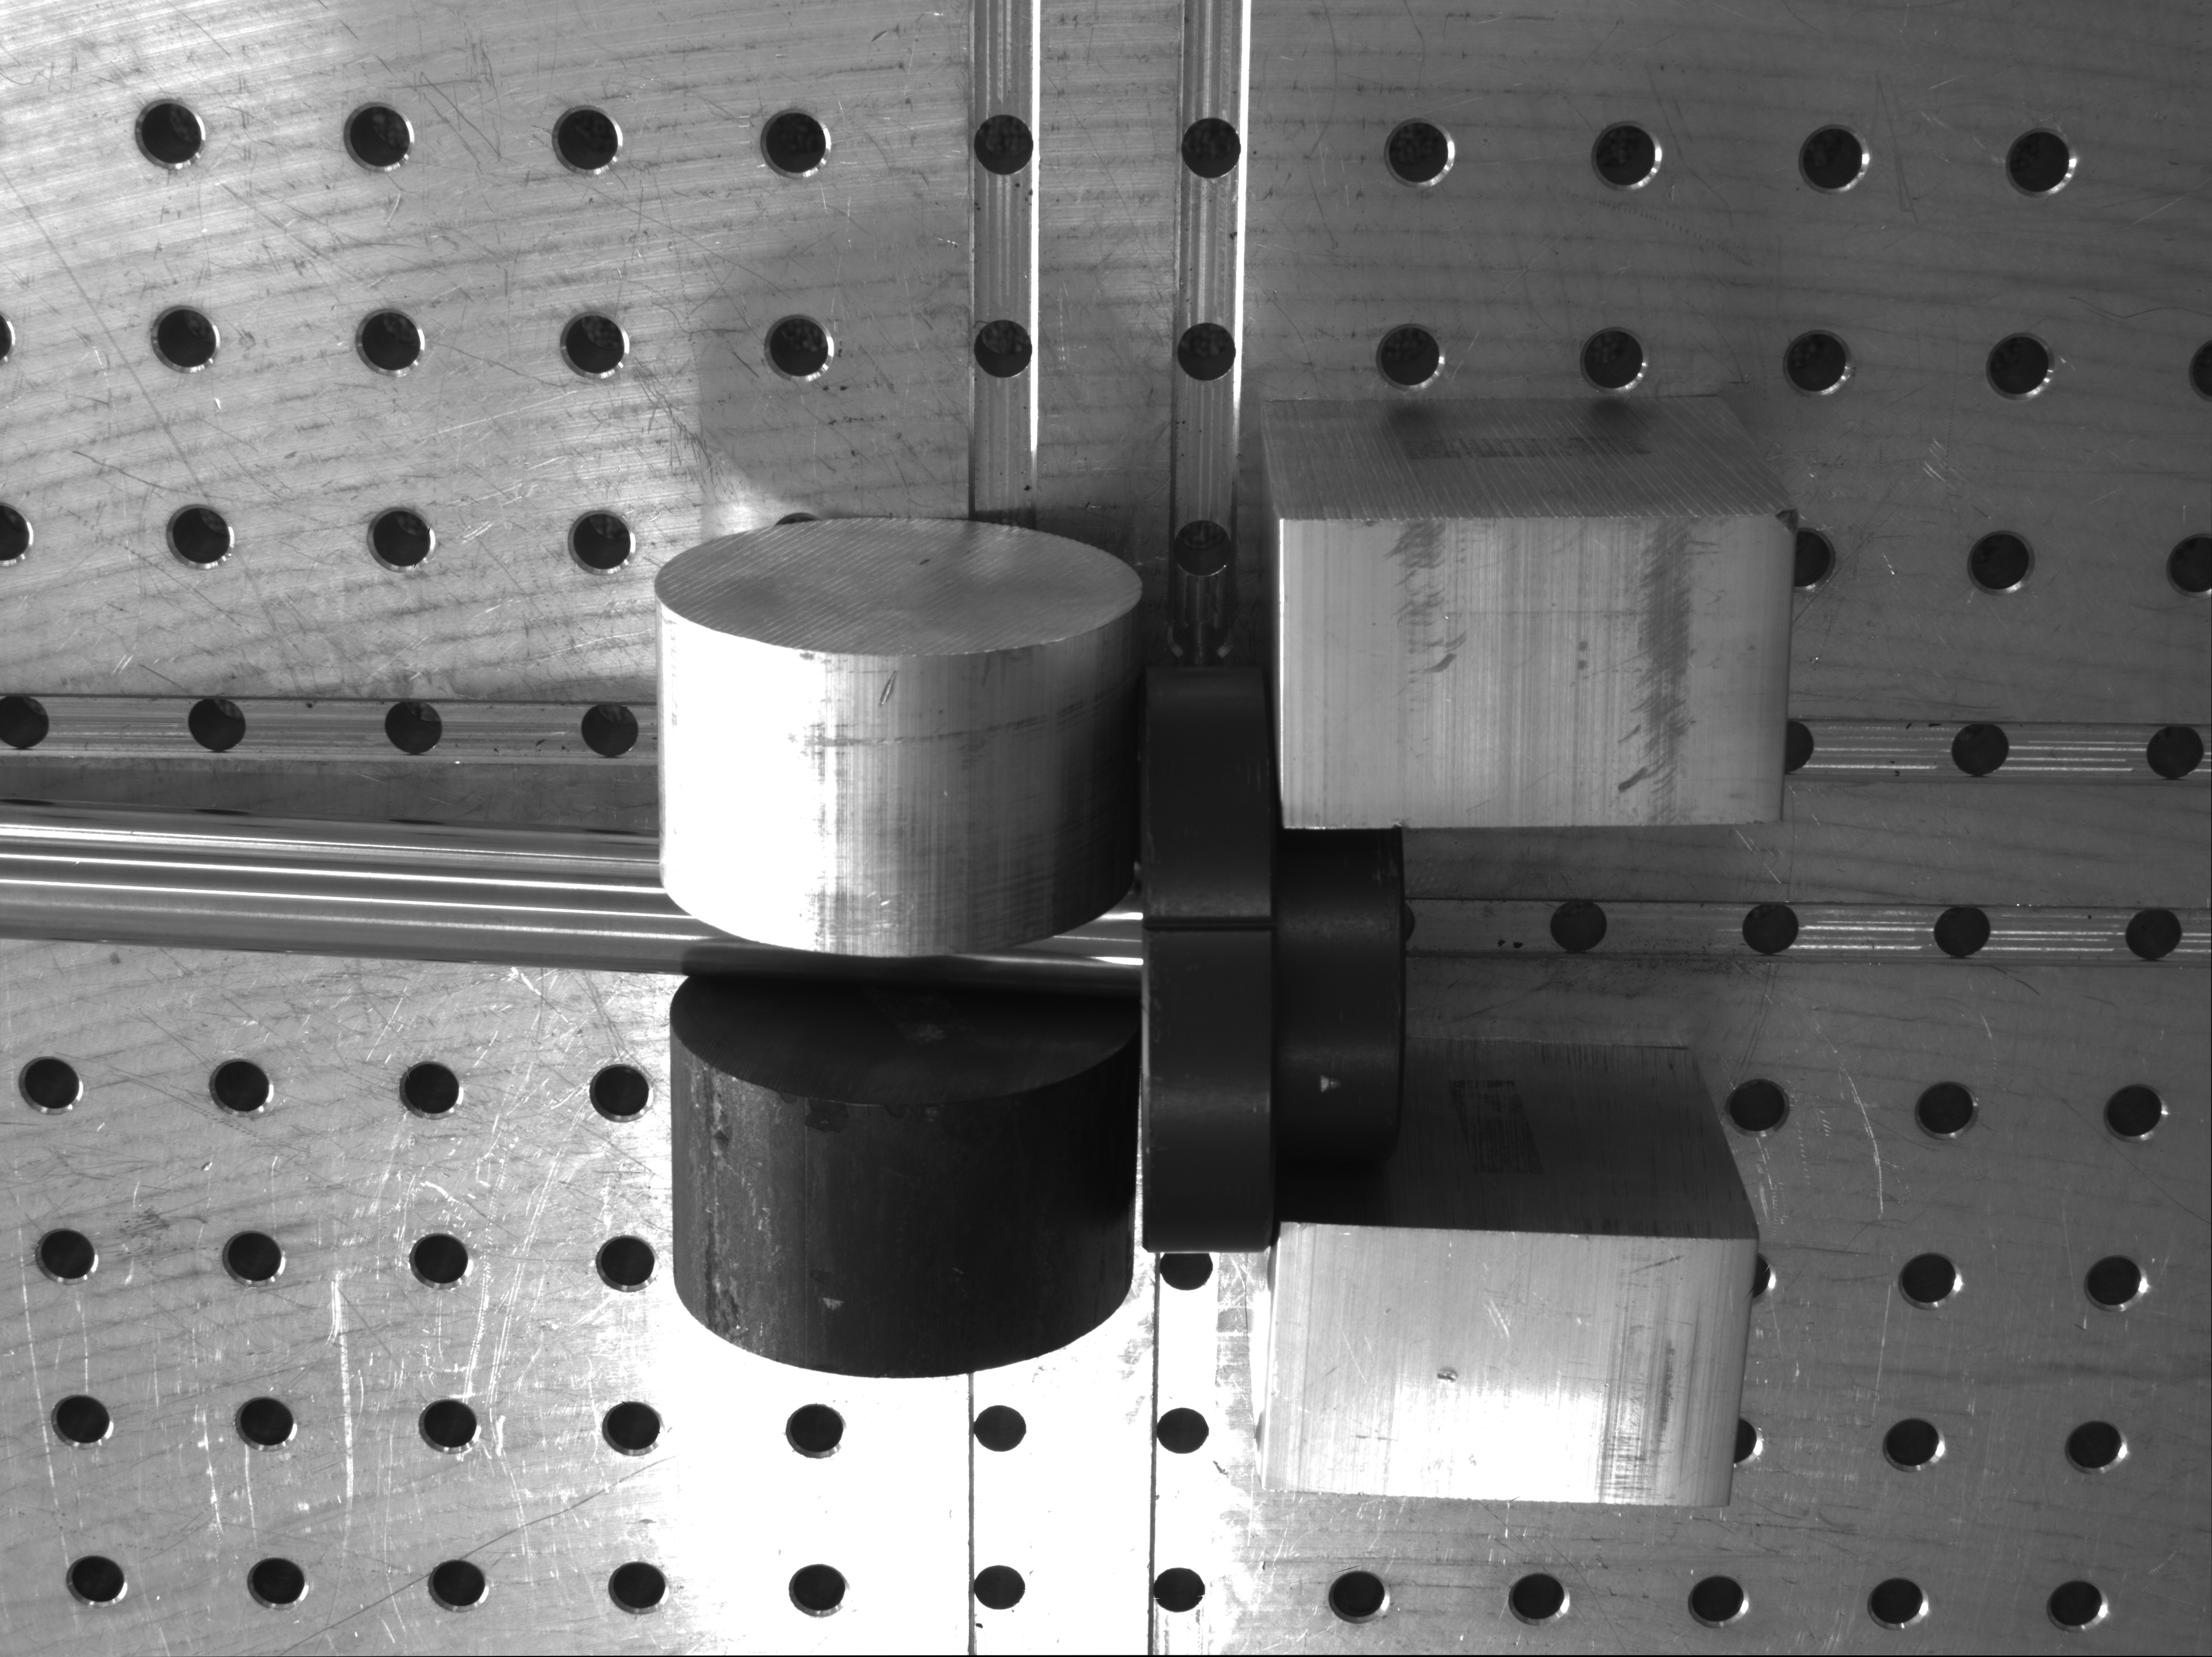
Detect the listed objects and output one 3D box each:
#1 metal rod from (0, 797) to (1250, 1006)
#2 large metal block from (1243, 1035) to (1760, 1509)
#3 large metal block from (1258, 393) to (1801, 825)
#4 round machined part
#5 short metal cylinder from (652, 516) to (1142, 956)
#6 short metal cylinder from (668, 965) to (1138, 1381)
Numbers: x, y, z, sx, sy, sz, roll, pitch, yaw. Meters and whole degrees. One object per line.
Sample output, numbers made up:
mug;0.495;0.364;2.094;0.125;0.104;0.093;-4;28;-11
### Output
metal rod;-0.117;0.011;0.637;0.300;0.025;0.025;3;110;3
large metal block;0.066;0.075;0.645;0.080;0.080;0.050;3;110;-1
large metal block;0.066;-0.038;0.604;0.080;0.080;0.050;0;110;0
round machined part;0.027;0.022;0.615;0.042;0.098;0.098;1;110;0
short metal cylinder;-0.034;-0.017;0.611;0.080;0.080;0.050;1;110;0
short metal cylinder;-0.035;0.054;0.635;0.080;0.080;0.050;1;110;0
